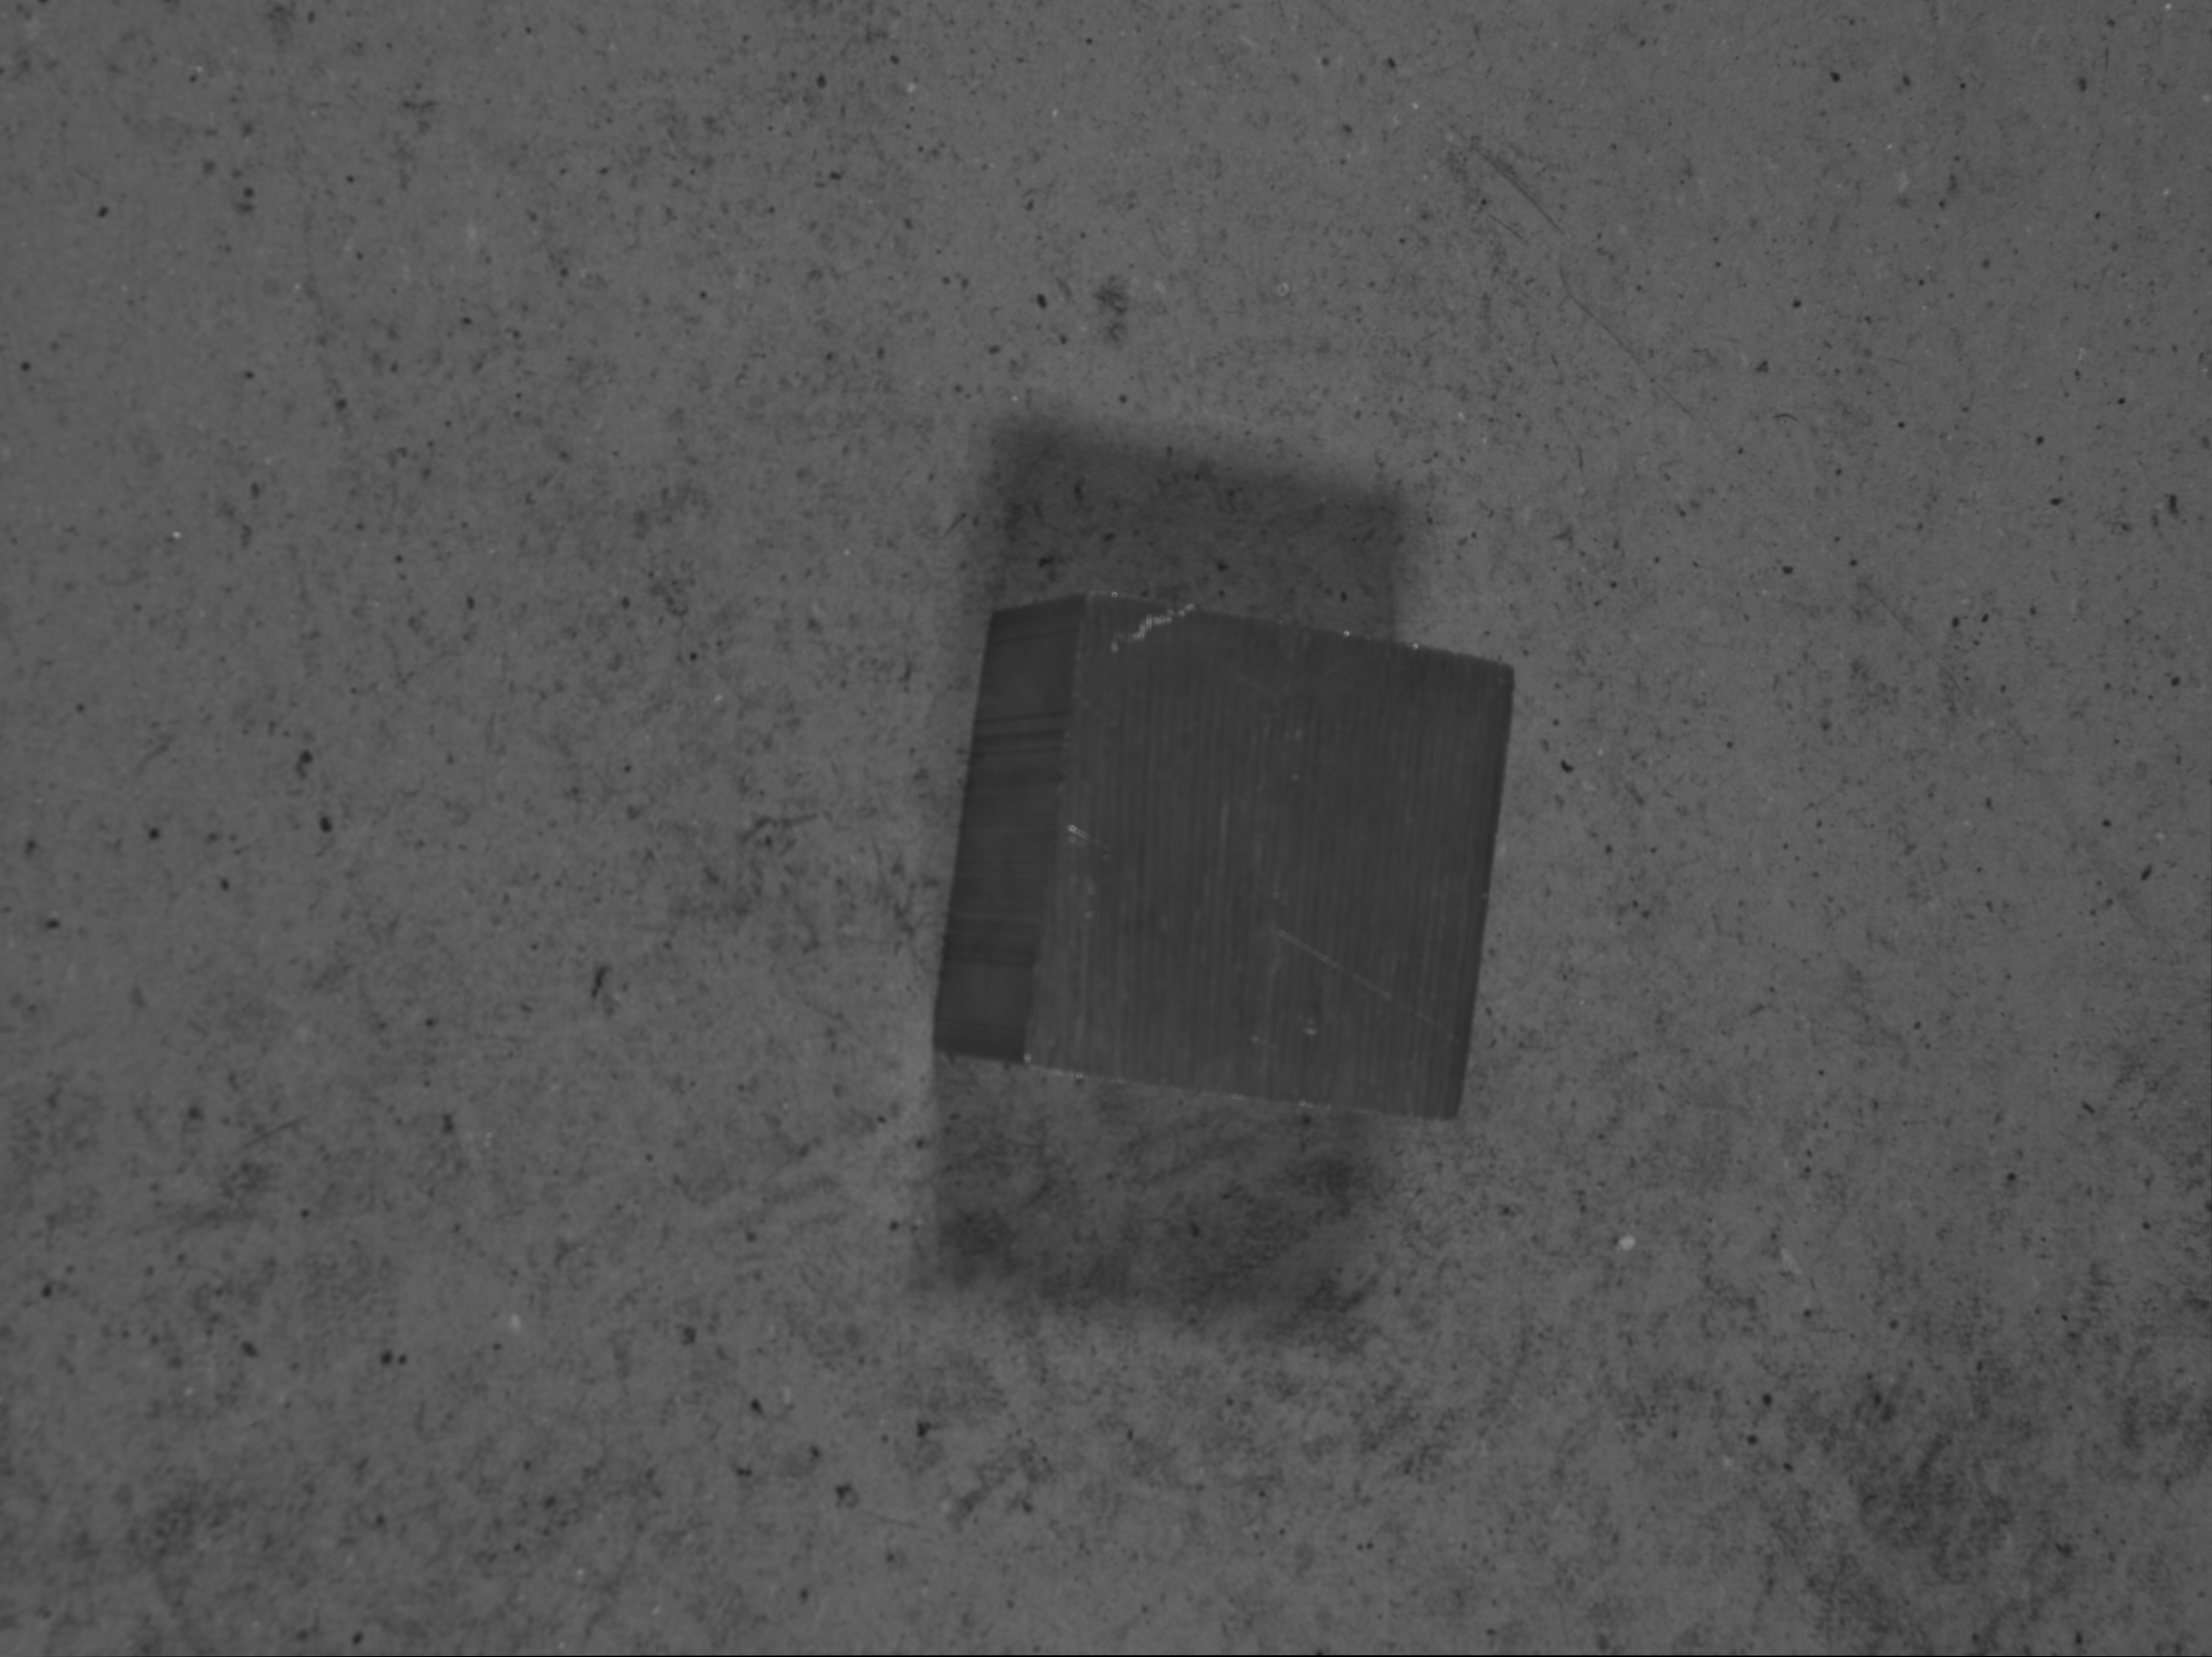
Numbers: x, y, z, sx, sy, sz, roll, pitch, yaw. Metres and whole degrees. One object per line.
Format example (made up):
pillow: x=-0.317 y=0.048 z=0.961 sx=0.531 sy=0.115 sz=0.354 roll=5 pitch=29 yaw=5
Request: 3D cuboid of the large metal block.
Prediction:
large metal block: x=0.023 y=0.006 z=0.638 sx=0.080 sy=0.050 sz=0.080 roll=8 pitch=87 yaw=-20
